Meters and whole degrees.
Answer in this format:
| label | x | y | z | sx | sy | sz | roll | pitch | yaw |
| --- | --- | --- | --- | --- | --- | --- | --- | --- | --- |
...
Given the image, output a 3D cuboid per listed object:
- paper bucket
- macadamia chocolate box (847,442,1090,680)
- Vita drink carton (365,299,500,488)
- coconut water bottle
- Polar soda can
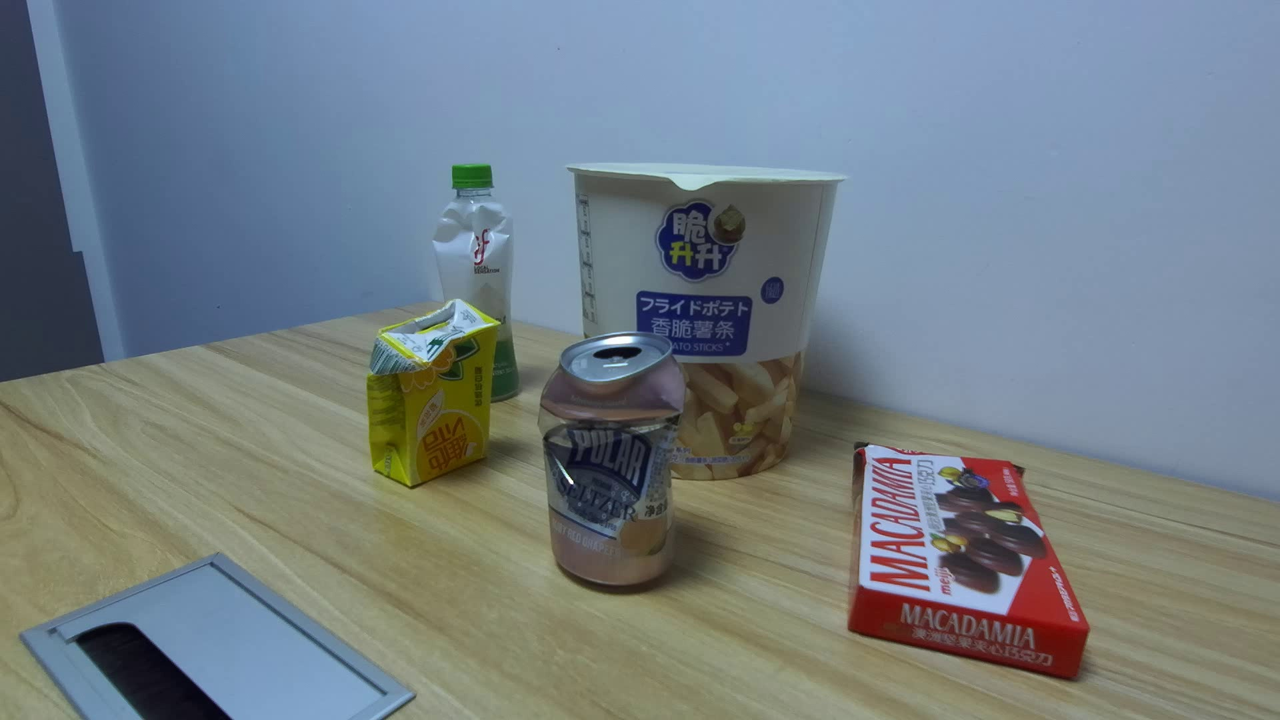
| label | x | y | z | sx | sy | sz | roll | pitch | yaw |
| --- | --- | --- | --- | --- | --- | --- | --- | --- | --- |
| paper bucket | 0.042 | -0.034 | 0.500 | 0.198 | 0.194 | 0.198 | 2 | 17 | 0 |
| macadamia chocolate box | 0.170 | 0.094 | 0.389 | 0.105 | 0.028 | 0.183 | 7 | 17 | 16 |
| Vita drink carton | -0.130 | 0.023 | 0.451 | 0.042 | 0.108 | 0.087 | 30 | 33 | 30 |
| coconut water bottle | -0.133 | -0.063 | 0.582 | 0.069 | 0.186 | 0.069 | 3 | 18 | -1 |
| Polar soda can | -0.015 | 0.051 | 0.349 | 0.071 | 0.122 | 0.066 | -1 | 22 | -8 |
